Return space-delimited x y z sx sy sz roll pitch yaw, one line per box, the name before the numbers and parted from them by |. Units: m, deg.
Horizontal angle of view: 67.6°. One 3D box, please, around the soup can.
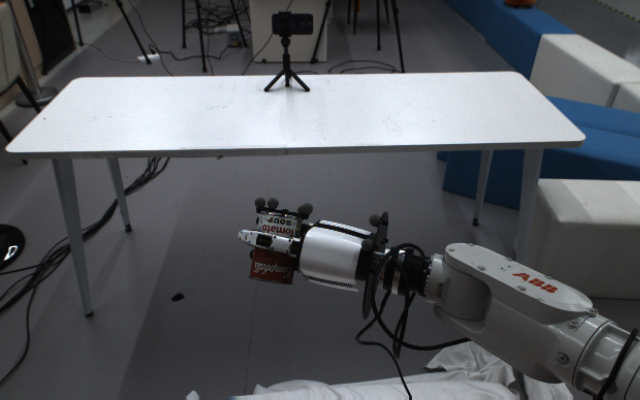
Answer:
soup can | -0.067 0.074 0.737 0.067 0.101 0.067 9 -6 1
